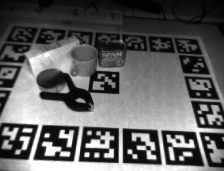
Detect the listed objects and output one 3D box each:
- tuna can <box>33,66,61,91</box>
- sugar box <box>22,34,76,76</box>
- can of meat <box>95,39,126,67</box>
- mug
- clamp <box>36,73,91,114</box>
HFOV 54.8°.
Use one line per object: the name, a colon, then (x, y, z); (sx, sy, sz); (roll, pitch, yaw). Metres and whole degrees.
tuna can: (-0.208, -0.019, 0.693); (0.086, 0.034, 0.085); (3, 53, -3)
sugar box: (-0.201, -0.101, 0.730); (0.178, 0.093, 0.045); (-28, 57, -26)
can of meat: (-0.008, -0.114, 0.766); (0.102, 0.084, 0.057); (-3, 50, -9)
mug: (-0.109, -0.085, 0.723); (0.093, 0.082, 0.117); (24, 55, 13)
clamp: (-0.133, 0.032, 0.667); (0.164, 0.036, 0.122); (34, 52, 15)
